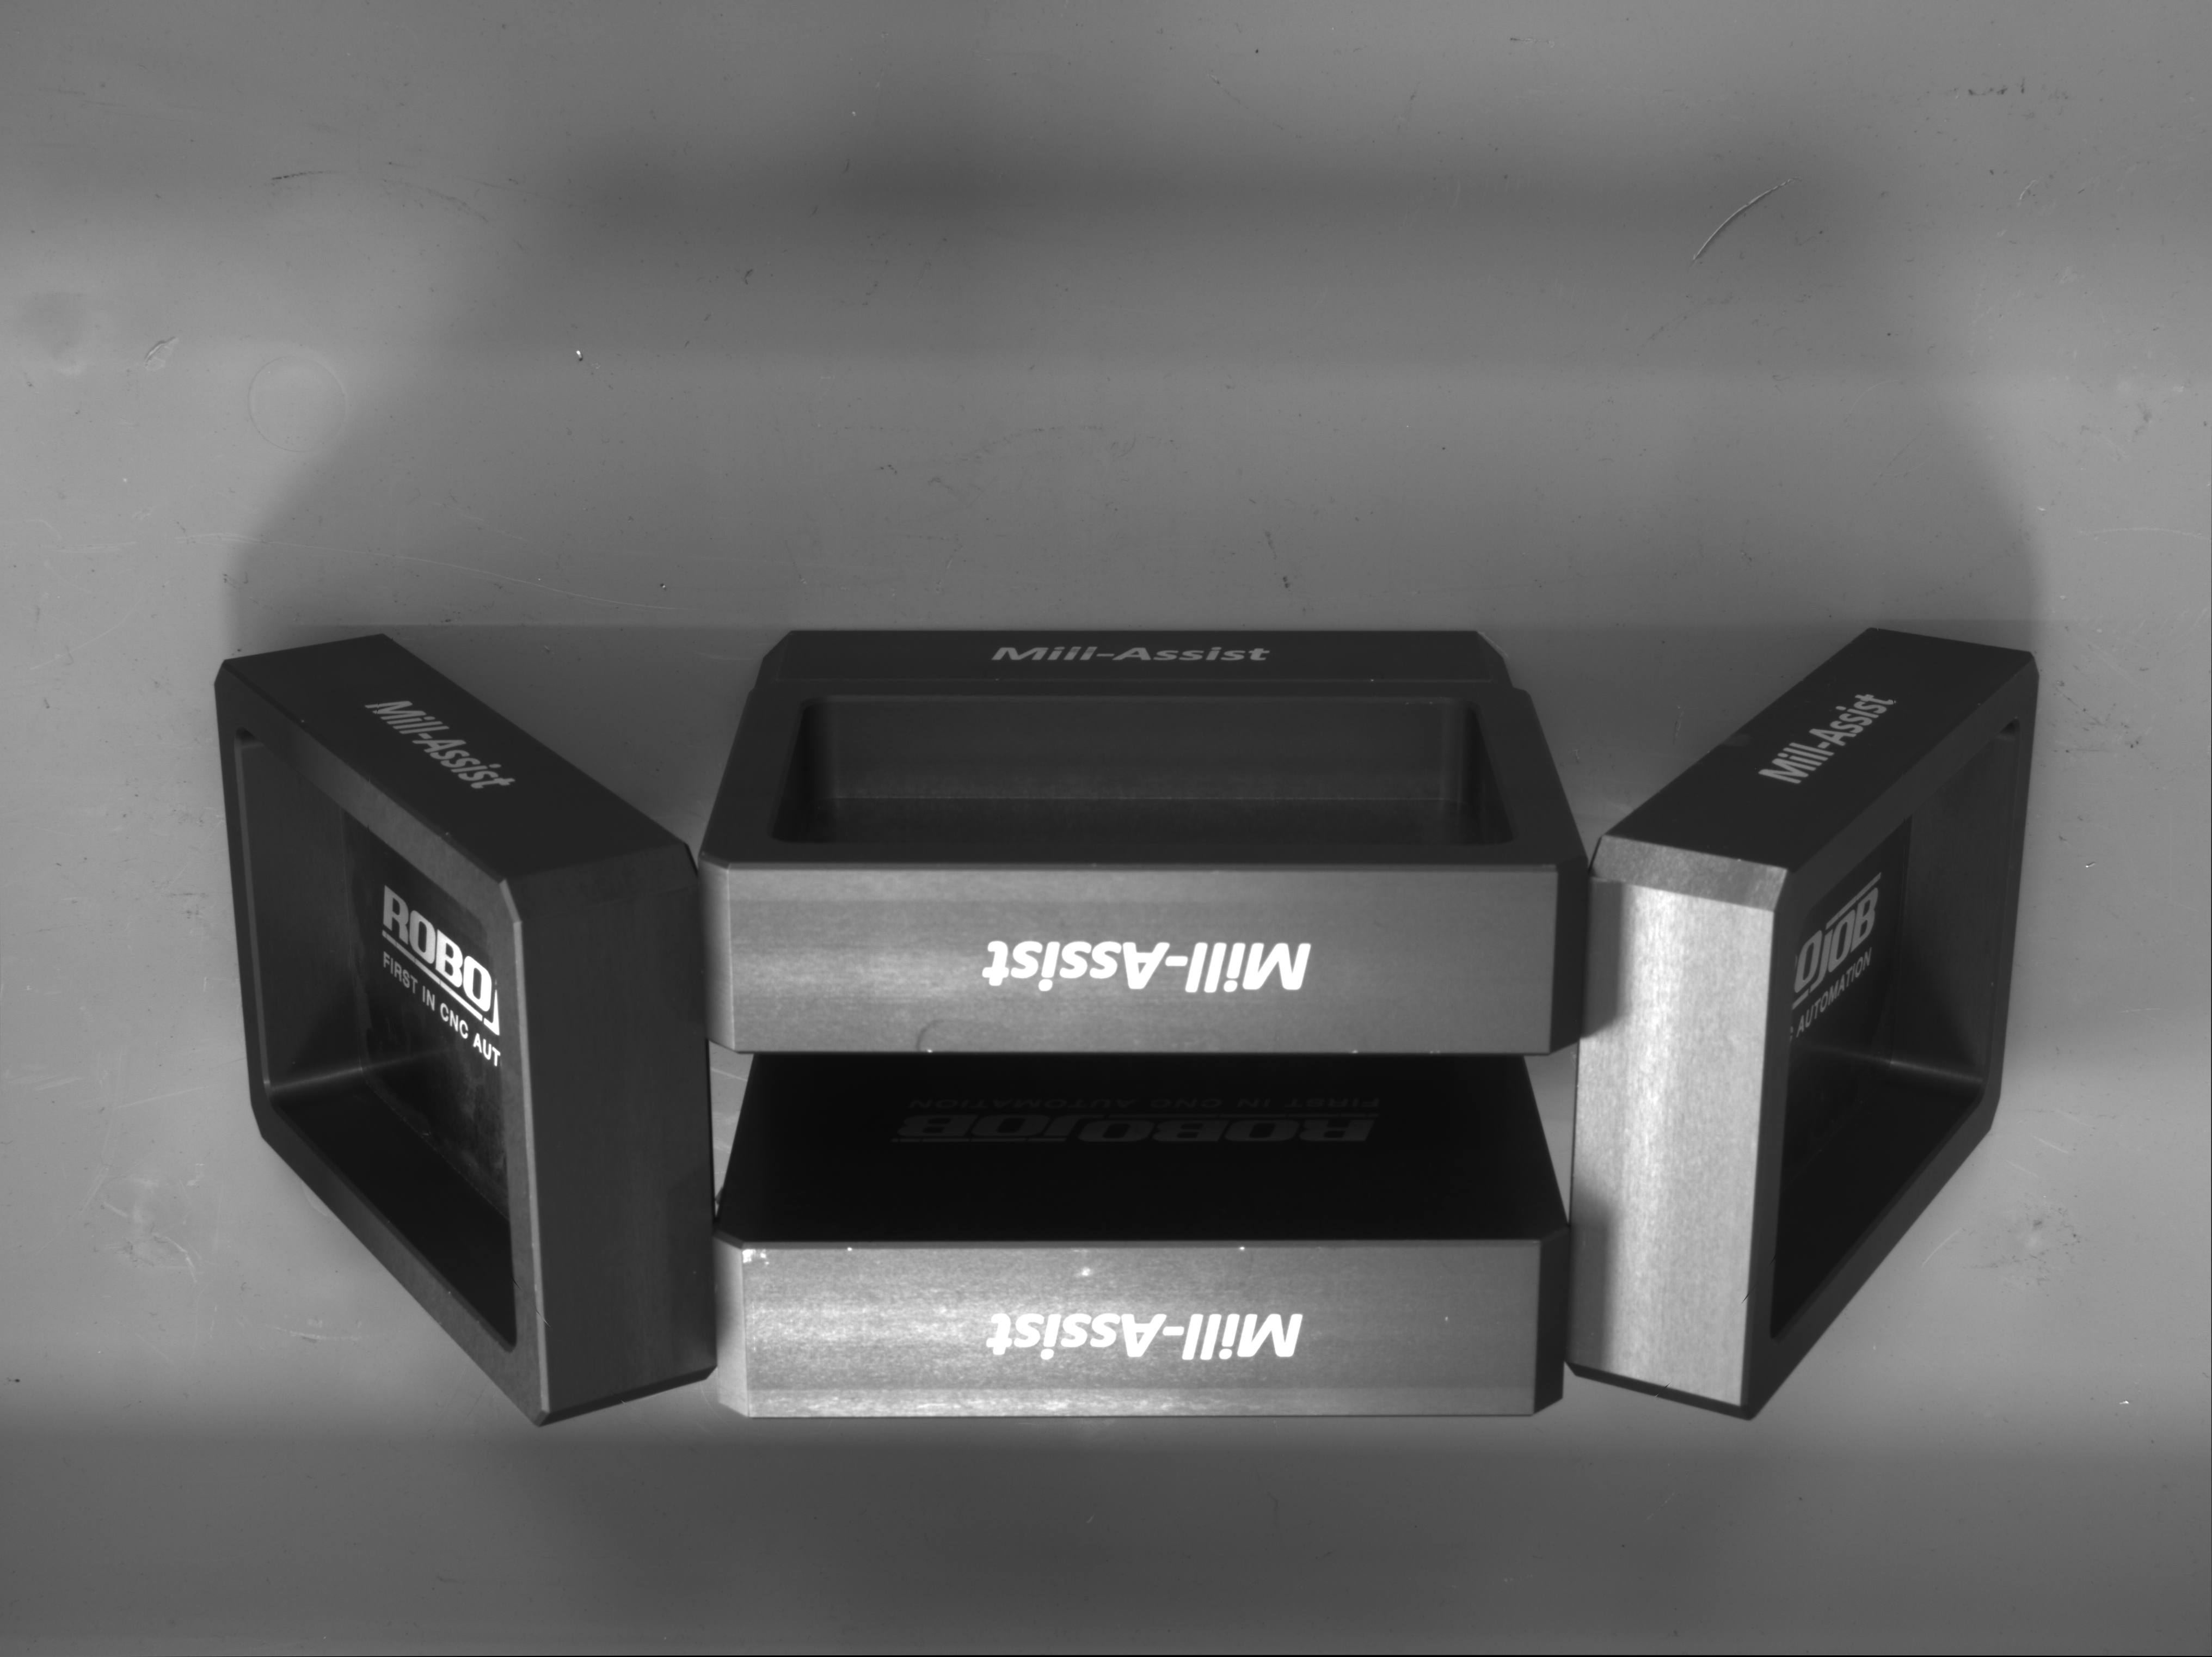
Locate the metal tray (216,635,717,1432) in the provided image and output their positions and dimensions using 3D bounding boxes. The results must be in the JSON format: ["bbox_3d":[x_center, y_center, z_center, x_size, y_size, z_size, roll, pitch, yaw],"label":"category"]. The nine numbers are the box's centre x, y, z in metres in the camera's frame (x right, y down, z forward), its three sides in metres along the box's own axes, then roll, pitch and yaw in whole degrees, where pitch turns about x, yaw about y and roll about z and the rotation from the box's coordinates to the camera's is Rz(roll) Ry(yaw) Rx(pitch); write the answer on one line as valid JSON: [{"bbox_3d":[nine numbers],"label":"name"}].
[{"bbox_3d":[-0.106,0.029,0.599,0.030,0.130,0.090,-12,114,-30],"label":"metal tray"}]

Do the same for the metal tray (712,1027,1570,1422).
[{"bbox_3d":[0.005,0.062,0.598,0.130,0.090,0.030,0,110,0],"label":"metal tray"}]

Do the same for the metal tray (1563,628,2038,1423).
[{"bbox_3d":[0.115,0.028,0.598,0.030,0.130,0.090,11,113,28],"label":"metal tray"}]

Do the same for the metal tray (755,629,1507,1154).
[{"bbox_3d":[0.005,0.013,0.644,0.130,0.030,0.090,-1,110,-1],"label":"metal tray"}]

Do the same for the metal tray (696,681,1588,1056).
[{"bbox_3d":[0.005,0.004,0.577,0.130,0.090,0.030,0,110,0],"label":"metal tray"}]
